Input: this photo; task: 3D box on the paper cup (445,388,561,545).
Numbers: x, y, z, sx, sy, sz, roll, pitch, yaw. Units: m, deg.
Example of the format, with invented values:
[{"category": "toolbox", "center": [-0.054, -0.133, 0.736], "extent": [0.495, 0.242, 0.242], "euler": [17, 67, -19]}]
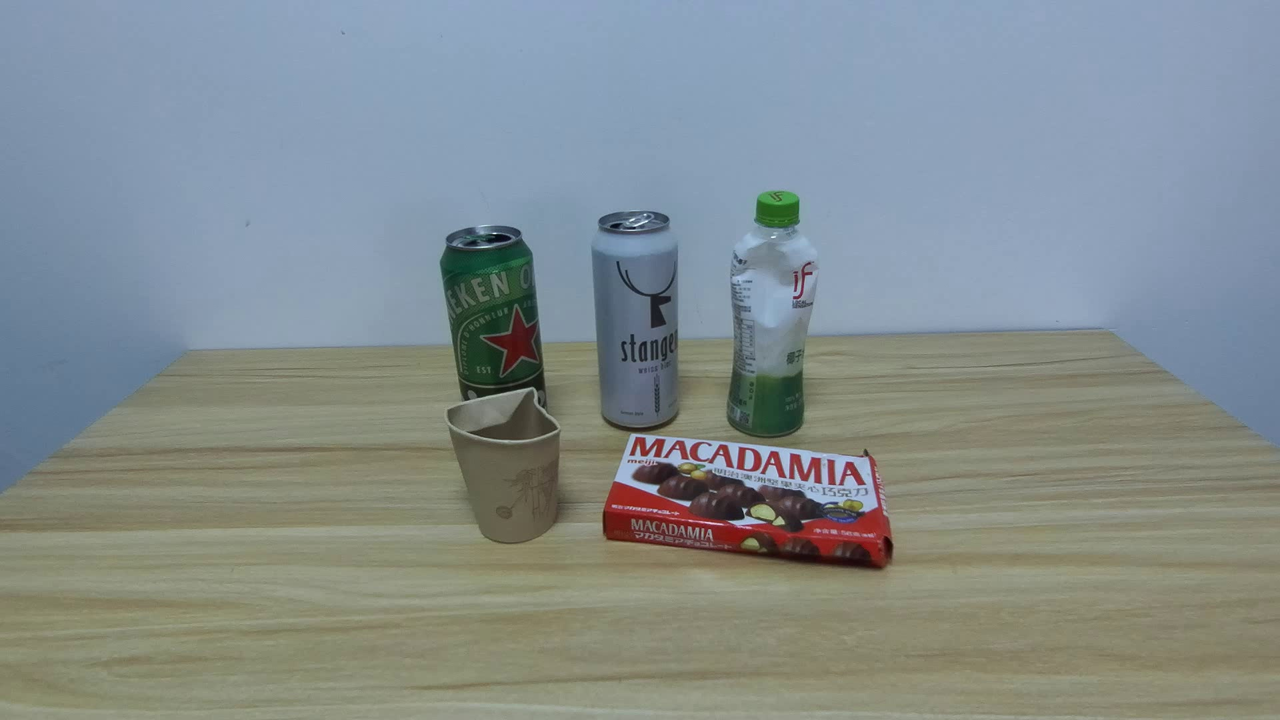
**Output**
[{"category": "paper cup", "center": [-0.087, 0.073, 0.467], "extent": [0.066, 0.084, 0.071], "euler": [-11, 27, -21]}]

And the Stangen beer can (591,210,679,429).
[{"category": "Stangen beer can", "center": [-0.002, -0.029, 0.567], "extent": [0.067, 0.171, 0.067], "euler": [-1, 25, 1]}]

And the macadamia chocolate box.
[{"category": "macadamia chocolate box", "center": [0.073, 0.092, 0.481], "extent": [0.183, 0.028, 0.106], "euler": [4, 27, 9]}]

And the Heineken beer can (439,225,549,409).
[{"category": "Heineken beer can", "center": [-0.109, -0.013, 0.544], "extent": [0.067, 0.169, 0.067], "euler": [-2, 27, 1]}]

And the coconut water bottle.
[{"category": "coconut water bottle", "center": [0.102, -0.035, 0.546], "extent": [0.069, 0.187, 0.069], "euler": [0, 26, 0]}]
